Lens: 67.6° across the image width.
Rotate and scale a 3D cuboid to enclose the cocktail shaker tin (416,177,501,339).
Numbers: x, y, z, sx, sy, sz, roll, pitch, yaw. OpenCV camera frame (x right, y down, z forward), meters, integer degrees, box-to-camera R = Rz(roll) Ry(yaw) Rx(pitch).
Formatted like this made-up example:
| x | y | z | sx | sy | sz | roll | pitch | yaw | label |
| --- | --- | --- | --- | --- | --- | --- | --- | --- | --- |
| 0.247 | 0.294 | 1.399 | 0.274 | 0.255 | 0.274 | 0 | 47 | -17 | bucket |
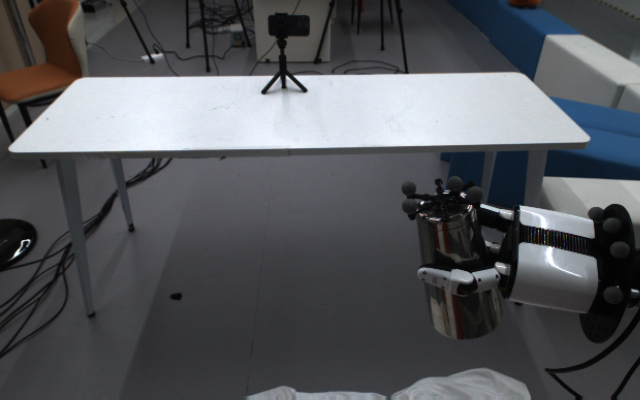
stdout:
| x | y | z | sx | sy | sz | roll | pitch | yaw | label |
| --- | --- | --- | --- | --- | --- | --- | --- | --- | --- |
| 0.166 | 0.075 | 0.591 | 0.093 | 0.170 | 0.093 | -15 | 29 | 8 | cocktail shaker tin |
